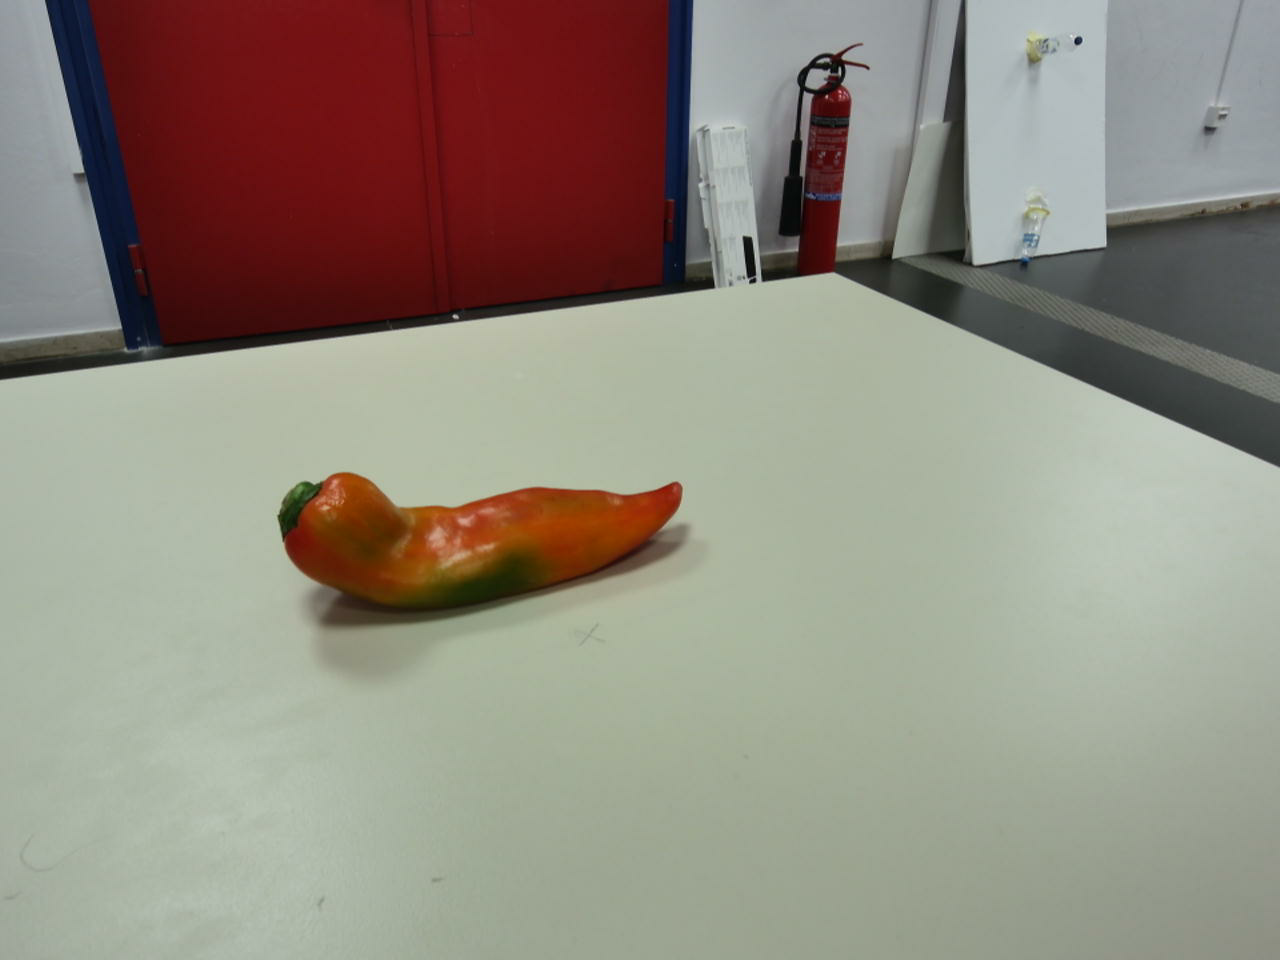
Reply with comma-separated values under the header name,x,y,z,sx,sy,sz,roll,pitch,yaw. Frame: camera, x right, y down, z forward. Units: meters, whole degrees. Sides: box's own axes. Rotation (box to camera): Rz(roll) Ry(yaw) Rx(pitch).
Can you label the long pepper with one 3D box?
name,x,y,z,sx,sy,sz,roll,pitch,yaw
long pepper,-0.069,0.018,0.491,0.199,0.065,0.066,-9,27,-18
